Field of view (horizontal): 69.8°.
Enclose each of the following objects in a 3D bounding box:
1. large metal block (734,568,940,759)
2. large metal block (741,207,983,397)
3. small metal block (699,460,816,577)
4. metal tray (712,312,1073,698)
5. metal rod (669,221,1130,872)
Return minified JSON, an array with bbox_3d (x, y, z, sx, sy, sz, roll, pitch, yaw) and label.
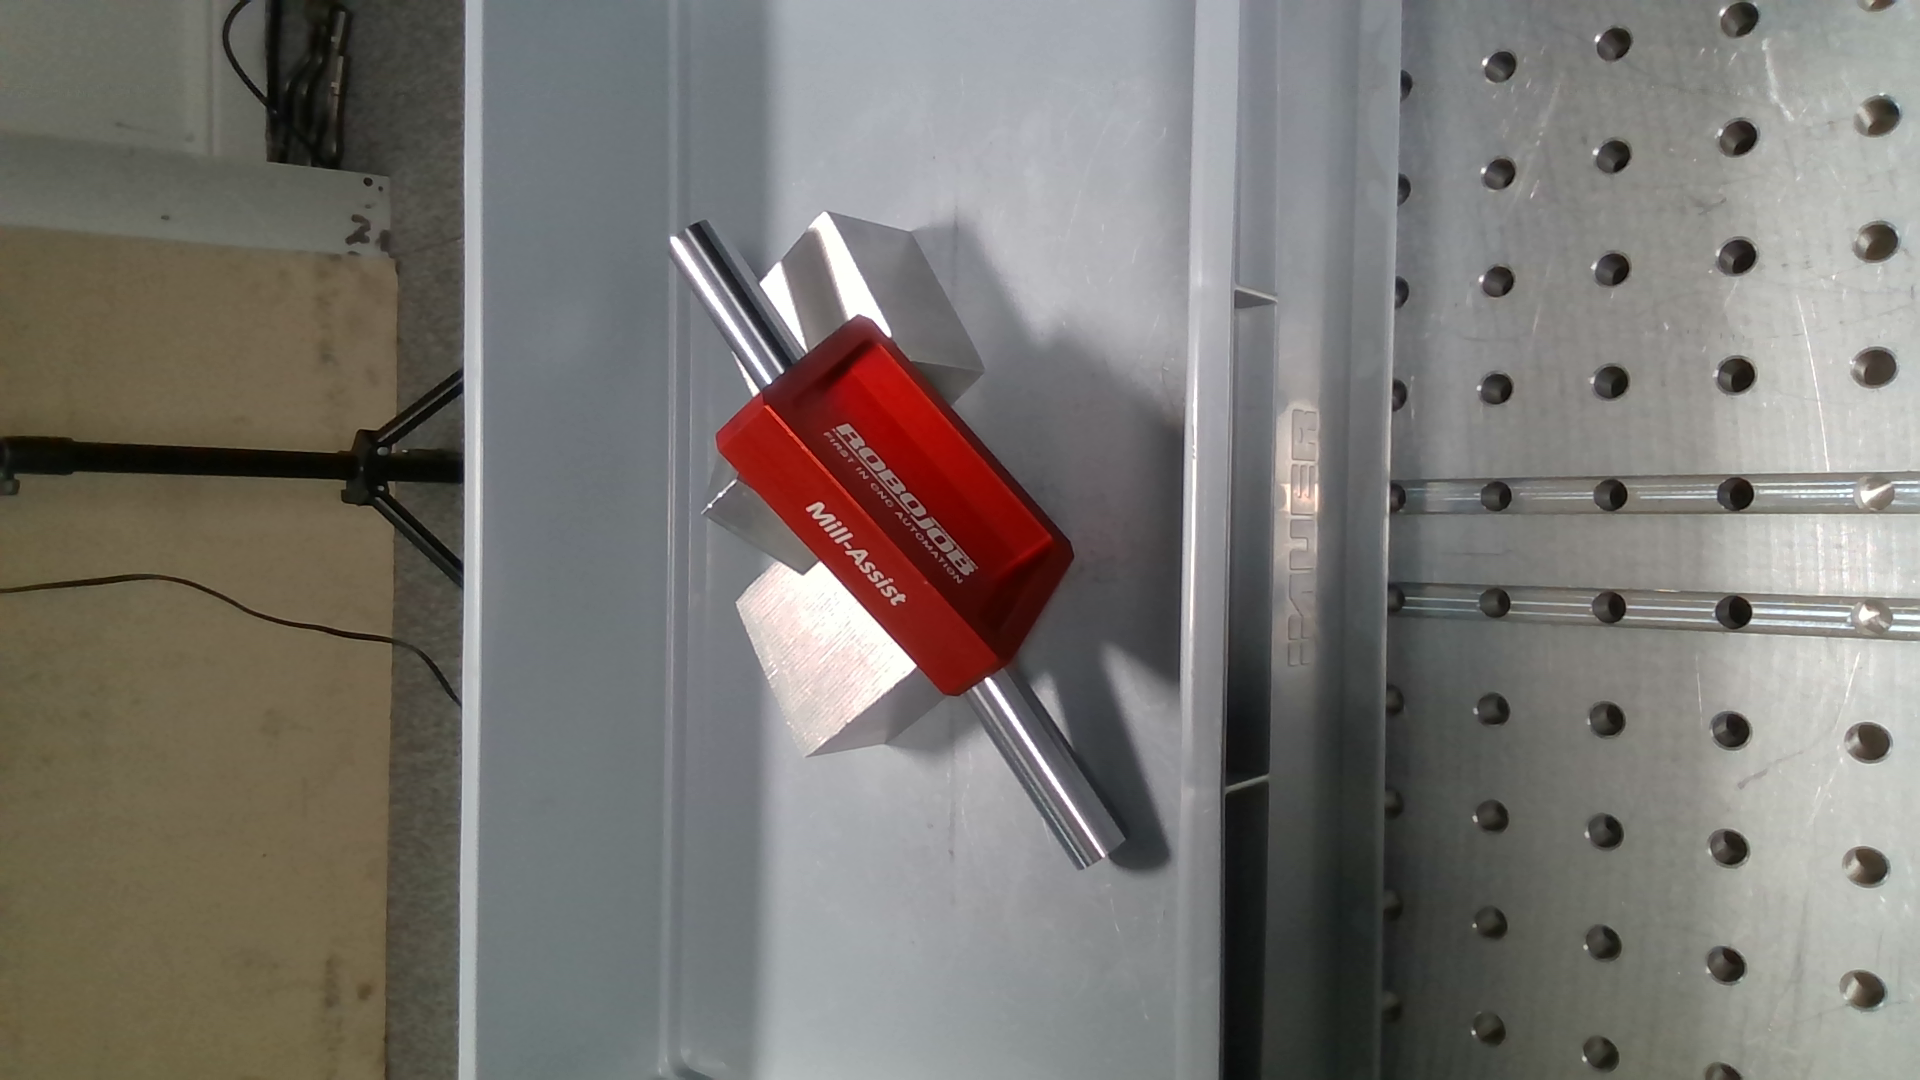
[{"bbox_3d":[-0.043,0.039,0.601,0.080,0.050,0.080,-41,65,33],"label":"large metal block"},{"bbox_3d":[-0.049,-0.084,0.602,0.080,0.050,0.080,-41,65,33],"label":"large metal block"},{"bbox_3d":[-0.074,-0.021,0.563,0.025,0.050,0.050,-38,30,34],"label":"small metal block"},{"bbox_3d":[-0.021,-0.015,0.521,0.130,0.090,0.030,48,126,-8],"label":"metal tray"},{"bbox_3d":[-0.027,-0.001,0.555,0.025,0.025,0.300,-39,82,34],"label":"metal rod"}]
